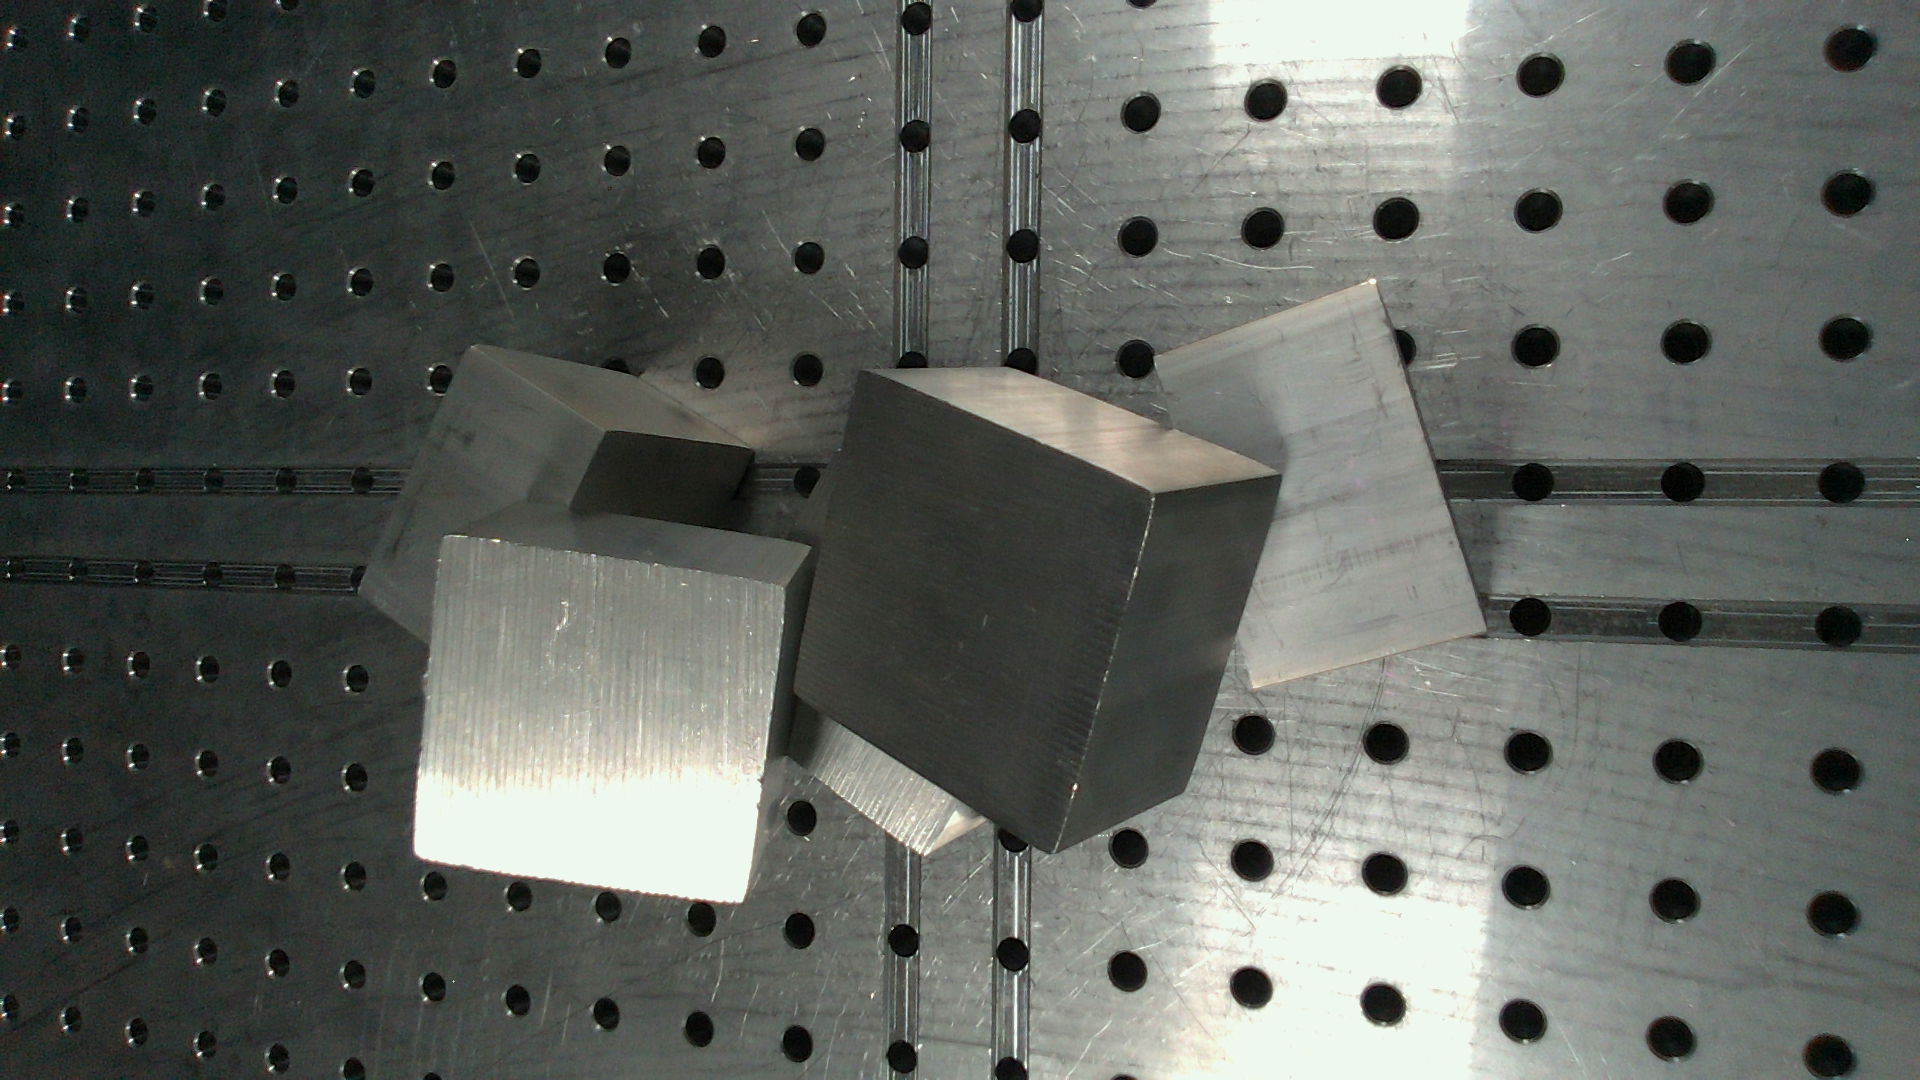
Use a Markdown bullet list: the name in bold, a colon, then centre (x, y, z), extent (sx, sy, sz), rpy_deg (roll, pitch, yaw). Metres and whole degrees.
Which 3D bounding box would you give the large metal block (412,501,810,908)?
- **large metal block**: centre (-0.085, 0.039, 0.346), extent (0.080, 0.050, 0.080), rpy_deg (9, 100, -1)

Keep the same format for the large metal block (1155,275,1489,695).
- **large metal block**: centre (0.091, -0.011, 0.336), extent (0.050, 0.080, 0.080), rpy_deg (-17, 84, 19)

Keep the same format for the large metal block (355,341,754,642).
- **large metal block**: centre (-0.118, -0.007, 0.411), extent (0.050, 0.080, 0.080), rpy_deg (31, 100, 17)

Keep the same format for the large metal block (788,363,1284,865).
- **large metal block**: centre (0.014, 0.011, 0.306), extent (0.080, 0.050, 0.080), rpy_deg (26, 112, 33)

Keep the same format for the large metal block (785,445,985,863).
- **large metal block**: centre (-0.012, 0.030, 0.389), extent (0.080, 0.050, 0.080), rpy_deg (34, 101, 17)
